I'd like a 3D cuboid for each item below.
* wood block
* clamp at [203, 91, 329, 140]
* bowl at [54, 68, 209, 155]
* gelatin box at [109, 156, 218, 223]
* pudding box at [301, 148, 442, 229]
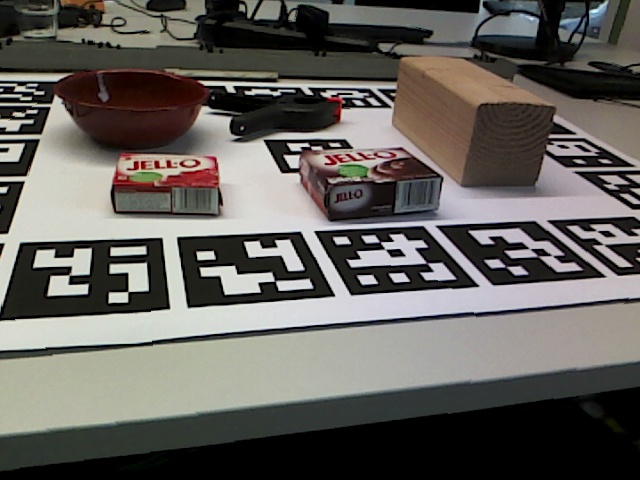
[{"bbox_3d":[0.169,-0.142,0.717,0.089,0.091,0.207,-1,32,-15],"label":"wood block"},{"bbox_3d":[-0.063,-0.159,0.768,0.164,0.036,0.122,-8,33,-26],"label":"clamp"},{"bbox_3d":[-0.205,-0.138,0.684,0.161,0.055,0.162,6,33,-4],"label":"bowl"},{"bbox_3d":[-0.137,-0.047,0.553,0.089,0.030,0.073,1,33,-9],"label":"gelatin box"},{"bbox_3d":[0.045,-0.052,0.592,0.113,0.038,0.090,-5,36,-15],"label":"pudding box"}]
